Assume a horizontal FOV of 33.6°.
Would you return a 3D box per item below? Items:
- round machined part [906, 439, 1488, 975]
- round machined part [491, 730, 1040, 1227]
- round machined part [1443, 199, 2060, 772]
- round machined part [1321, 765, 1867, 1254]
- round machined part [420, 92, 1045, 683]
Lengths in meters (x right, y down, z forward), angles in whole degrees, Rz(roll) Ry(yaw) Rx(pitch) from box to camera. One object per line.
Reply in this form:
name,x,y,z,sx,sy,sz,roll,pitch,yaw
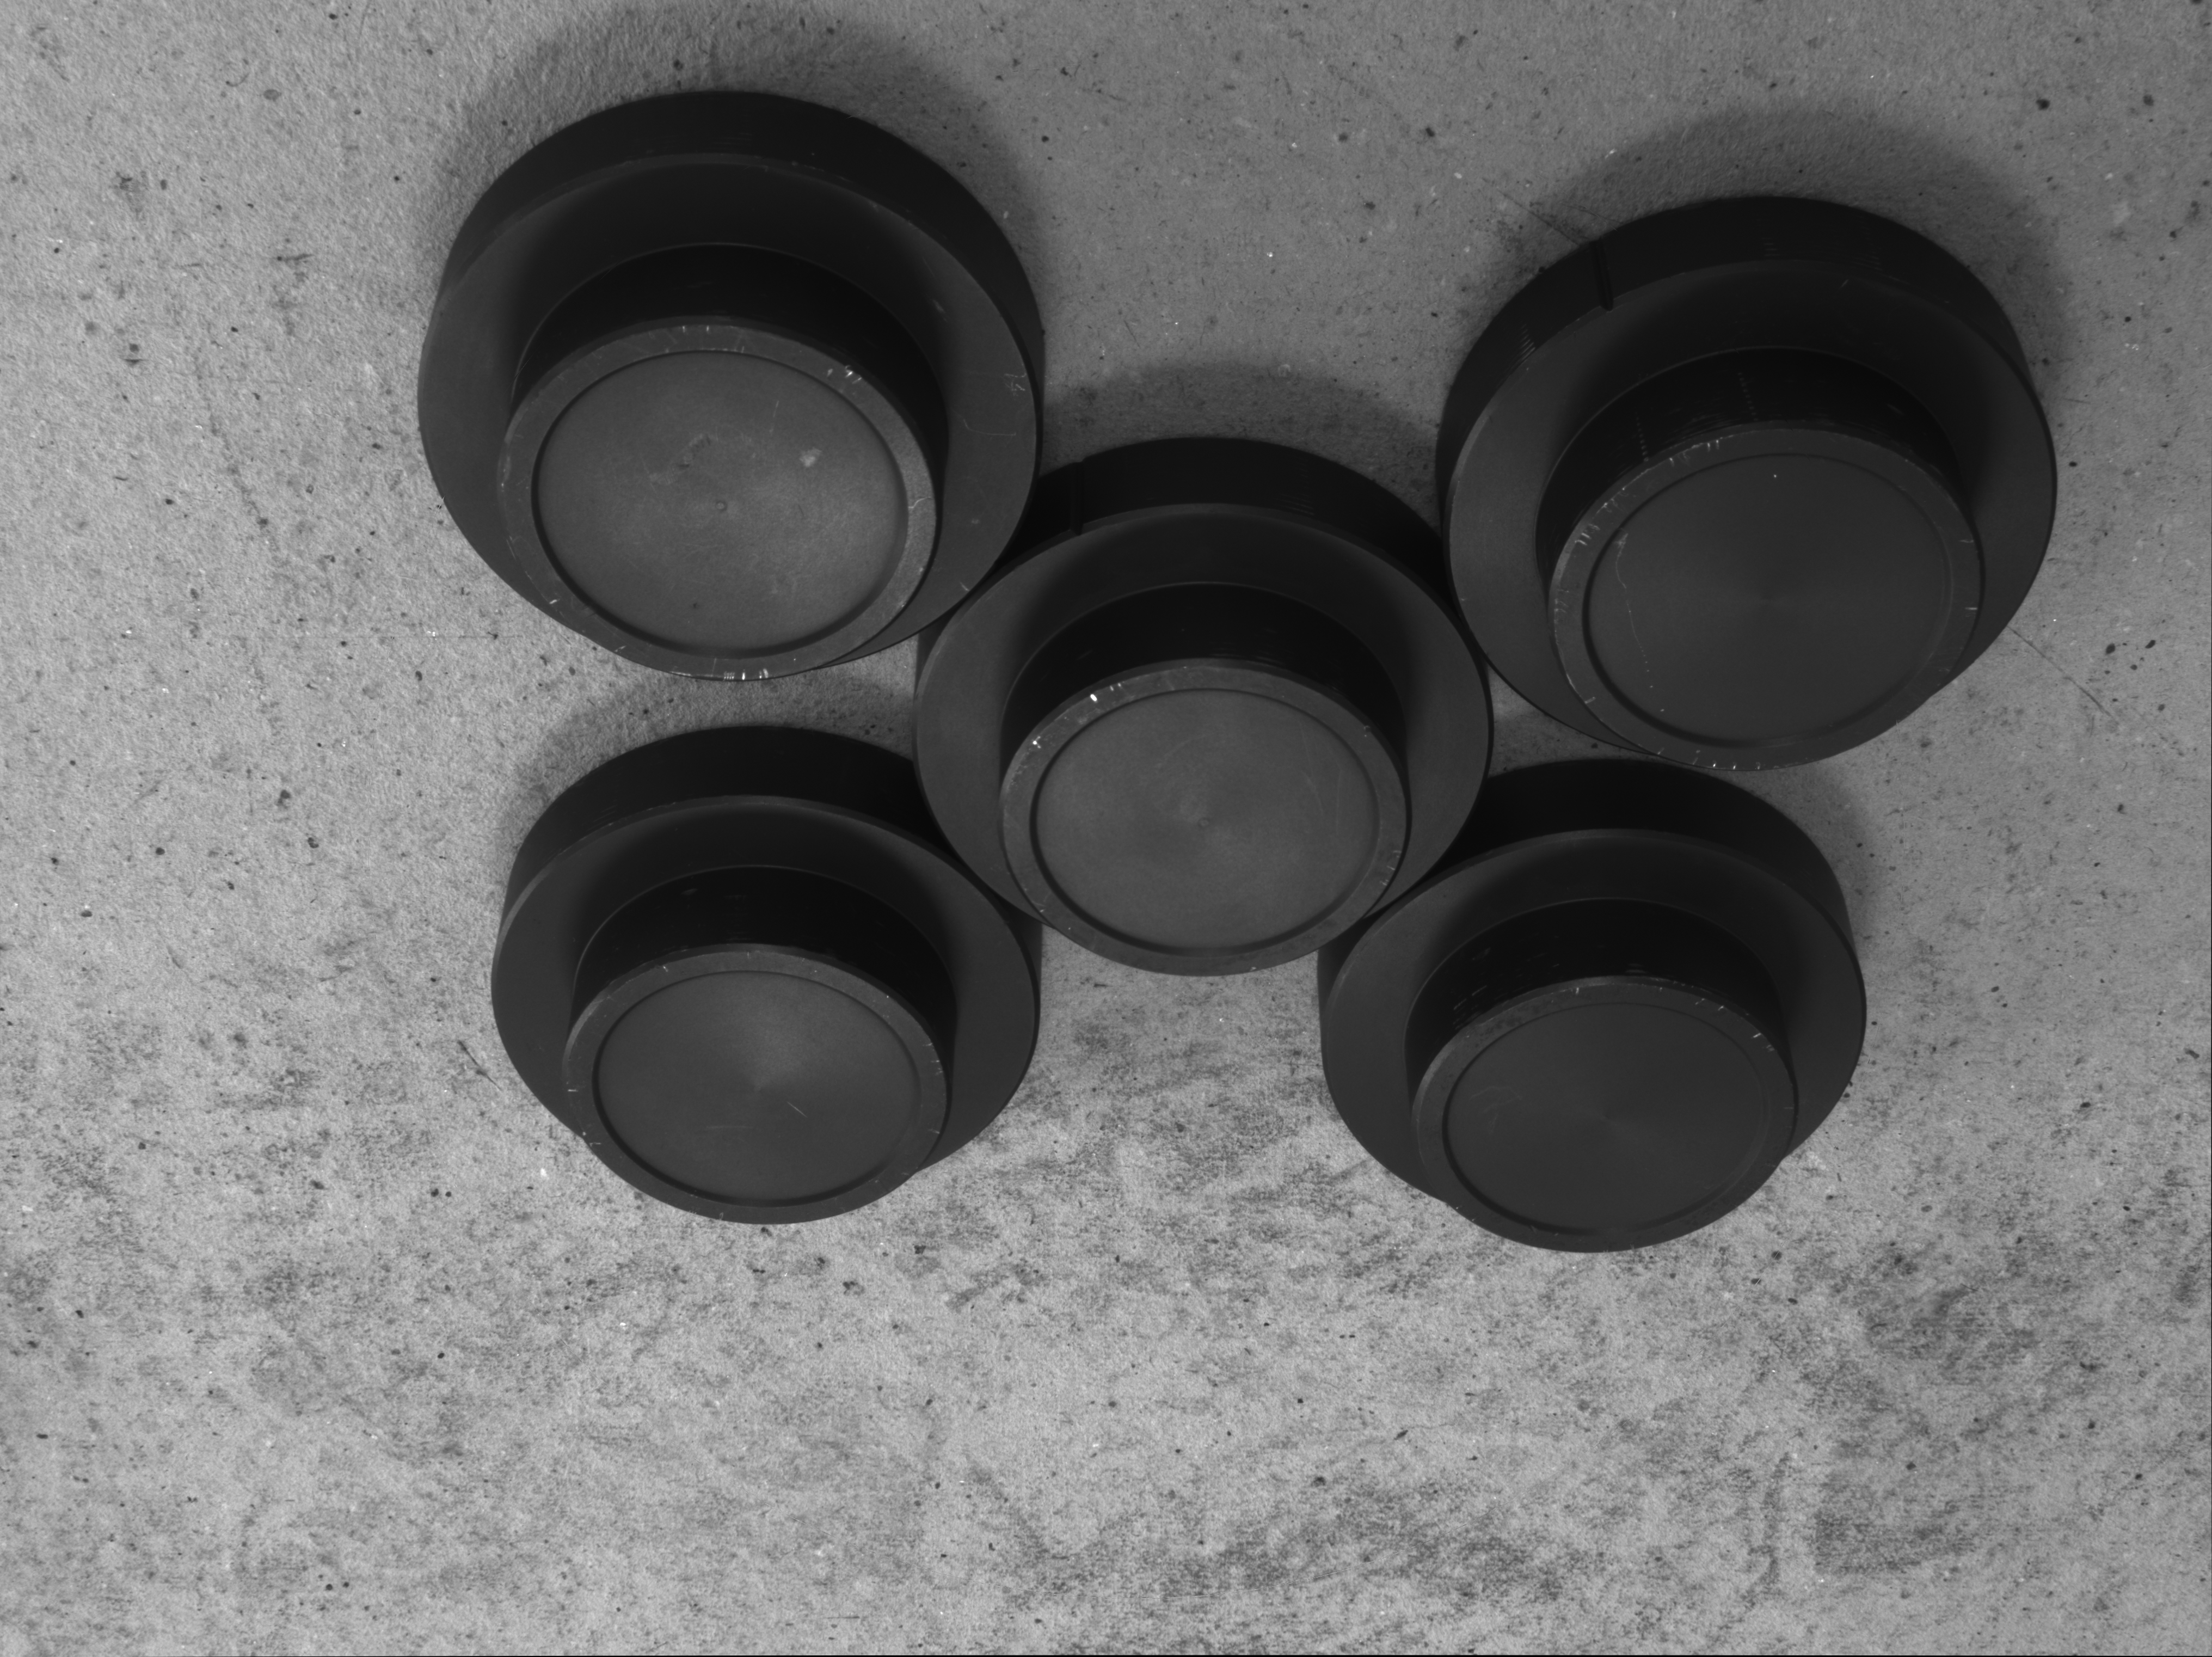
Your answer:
round machined part,0.015,-0.014,0.617,0.098,0.042,0.098,0,132,1
round machined part,-0.061,0.033,0.655,0.098,0.042,0.098,0,131,0
round machined part,0.103,-0.048,0.587,0.098,0.042,0.098,0,132,1
round machined part,0.088,0.039,0.661,0.098,0.042,0.098,0,132,1
round machined part,-0.059,-0.062,0.576,0.098,0.042,0.098,0,130,0
